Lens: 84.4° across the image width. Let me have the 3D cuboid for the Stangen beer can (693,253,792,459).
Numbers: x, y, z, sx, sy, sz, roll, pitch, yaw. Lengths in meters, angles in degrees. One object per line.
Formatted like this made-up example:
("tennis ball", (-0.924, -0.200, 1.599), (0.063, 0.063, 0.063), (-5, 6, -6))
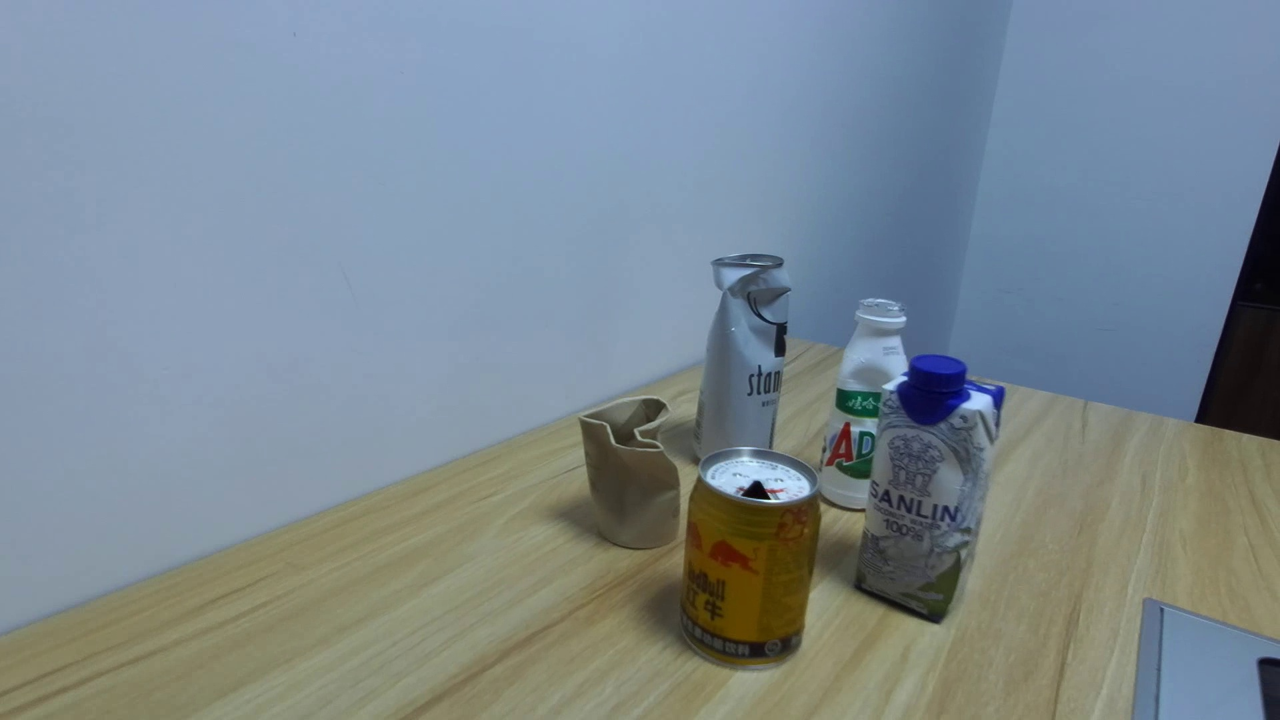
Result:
("Stangen beer can", (0.077, 0.003, 0.552), (0.066, 0.166, 0.066), (-4, 18, -18))

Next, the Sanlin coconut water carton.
("Sanlin coconut water carton", (0.163, 0.067, 0.398), (0.060, 0.144, 0.061), (15, 20, 37))

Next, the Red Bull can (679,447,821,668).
("Red Bull can", (0.056, 0.098, 0.360), (0.067, 0.093, 0.067), (4, 18, -1))

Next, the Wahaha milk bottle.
("Wahaha milk bottle", (0.165, 0.029, 0.507), (0.055, 0.149, 0.055), (2, 22, 0))

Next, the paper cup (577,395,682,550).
("paper cup", (0.003, 0.074, 0.452), (0.058, 0.083, 0.067), (20, 26, 39))
